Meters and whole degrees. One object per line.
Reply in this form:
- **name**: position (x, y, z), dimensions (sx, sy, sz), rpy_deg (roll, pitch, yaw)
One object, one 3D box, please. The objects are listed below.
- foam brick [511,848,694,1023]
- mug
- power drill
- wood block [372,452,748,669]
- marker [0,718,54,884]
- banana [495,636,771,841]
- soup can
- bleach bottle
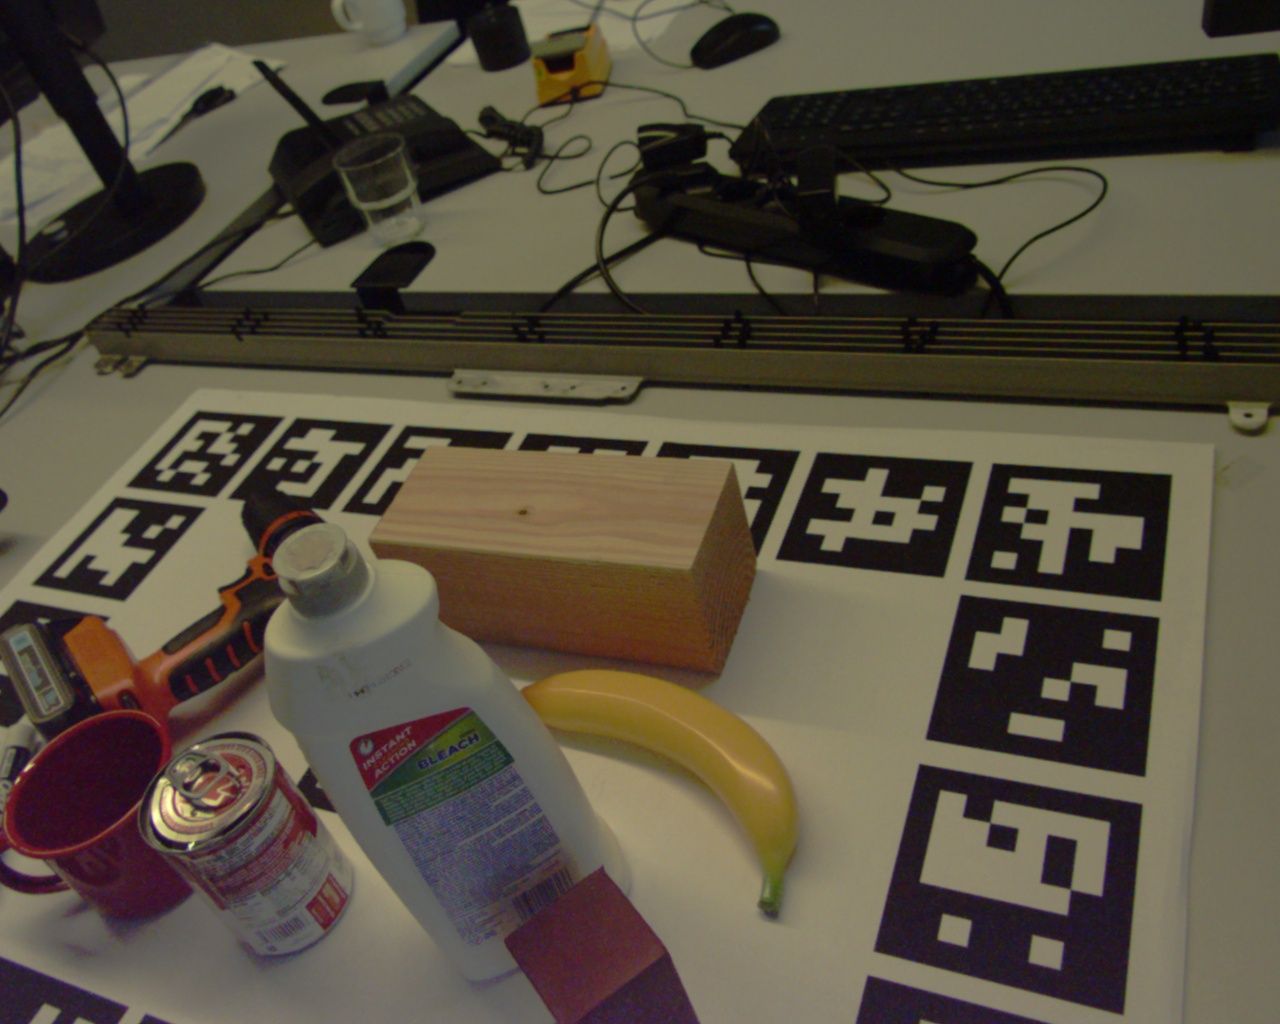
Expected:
- **foam brick**: position (-0.016, 0.204, 0.517), dimensions (0.051, 0.077, 0.053), rpy_deg (-31, 40, -19)
- **mug**: position (-0.298, 0.167, 0.655), dimensions (0.117, 0.081, 0.094), rpy_deg (-29, 43, -8)
- **power drill**: position (-0.286, 0.076, 0.781), dimensions (0.186, 0.057, 0.187), rpy_deg (-36, 47, -22)
- **wood block**: position (-0.048, 0.026, 0.719), dimensions (0.208, 0.090, 0.089), rpy_deg (4, 46, 24)
- **marker**: position (-0.397, 0.184, 0.725), dimensions (0.020, 0.019, 0.122), rpy_deg (-18, 41, 4)
- **banana**: position (-0.001, 0.109, 0.641), dimensions (0.200, 0.038, 0.074), rpy_deg (20, 67, 34)
- **soup can**: position (-0.201, 0.162, 0.602), dimensions (0.068, 0.101, 0.068), rpy_deg (-9, 38, 6)
- **bleach bottle**: position (-0.092, 0.102, 0.525), dimensions (0.102, 0.249, 0.069), rpy_deg (-35, 42, -21)
